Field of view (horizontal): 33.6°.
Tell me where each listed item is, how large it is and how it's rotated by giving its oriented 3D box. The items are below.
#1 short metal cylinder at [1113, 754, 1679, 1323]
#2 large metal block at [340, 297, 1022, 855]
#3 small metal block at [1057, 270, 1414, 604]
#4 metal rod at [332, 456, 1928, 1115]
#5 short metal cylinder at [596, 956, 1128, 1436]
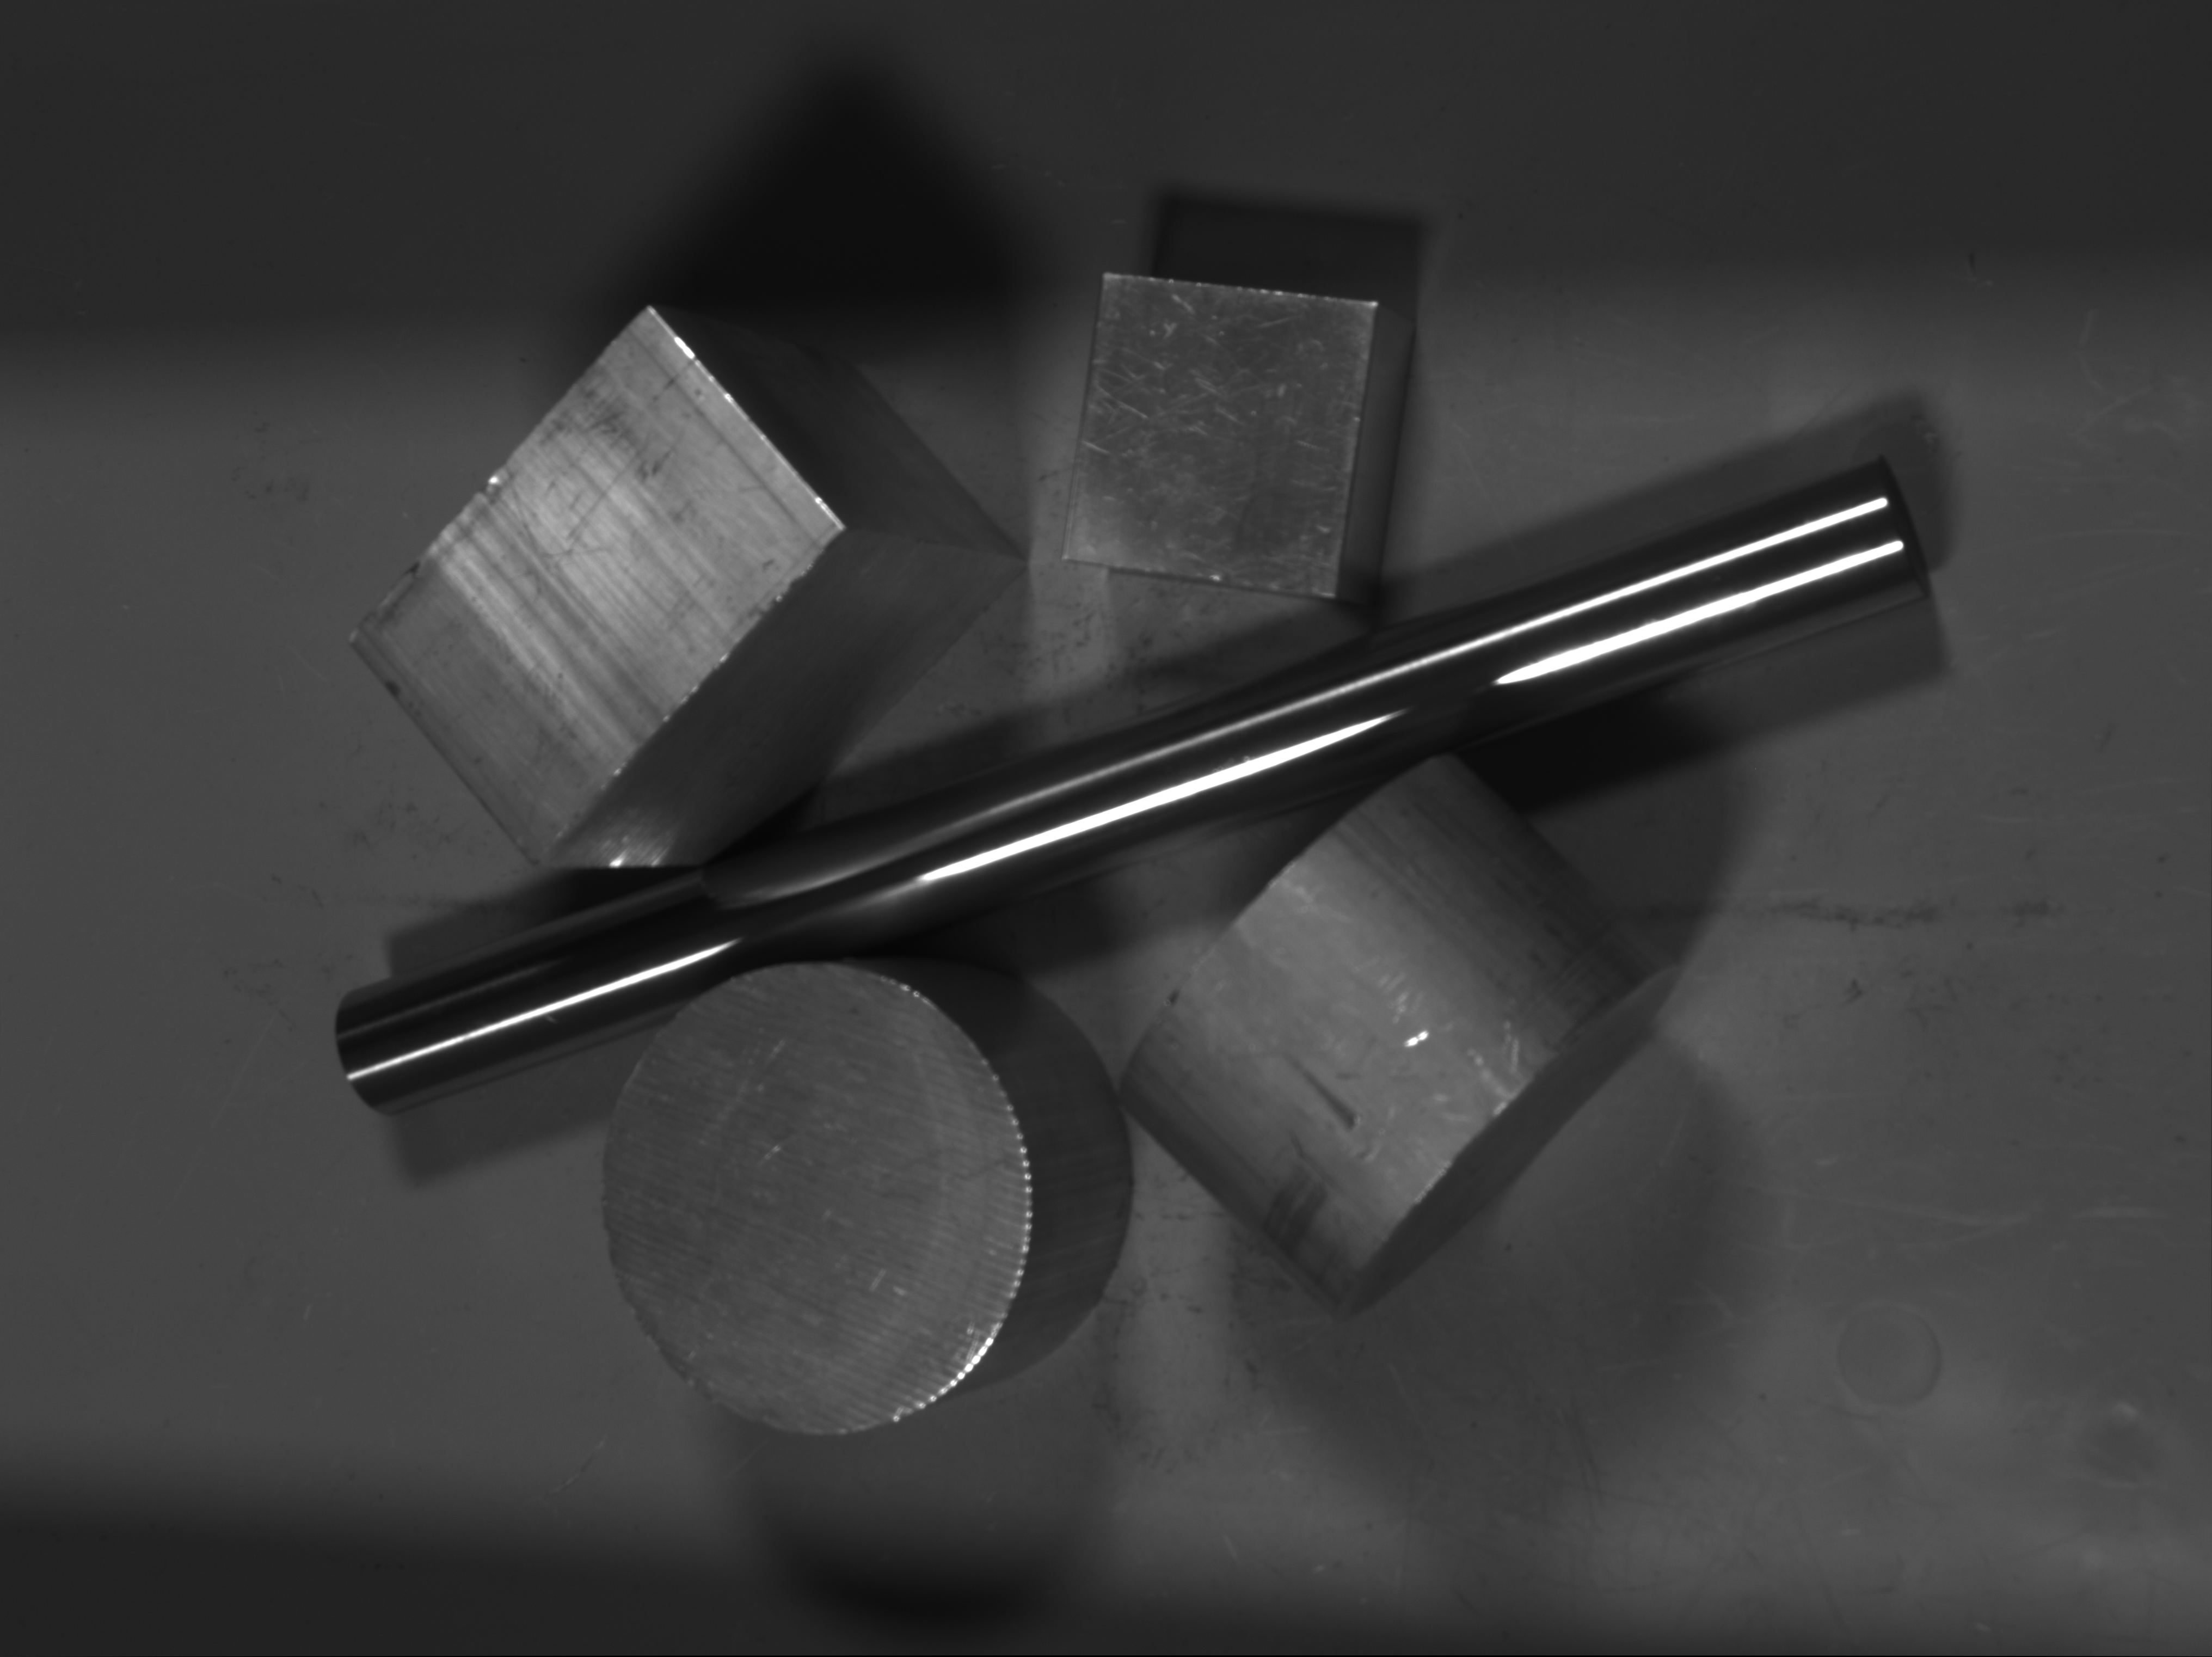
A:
[{"bbox_3d":[0.047,0.034,0.597,0.050,0.080,0.080,44,104,15],"label":"short metal cylinder"},{"bbox_3d":[-0.072,-0.041,0.641,0.080,0.080,0.050,-45,76,14],"label":"large metal block"},{"bbox_3d":[0.023,-0.068,0.635,0.050,0.025,0.050,9,93,19],"label":"small metal block"},{"bbox_3d":[-0.004,-0.003,0.645,0.300,0.025,0.025,-19,84,19],"label":"metal rod"},{"bbox_3d":[-0.042,0.063,0.644,0.080,0.050,0.080,0,90,20],"label":"short metal cylinder"}]
